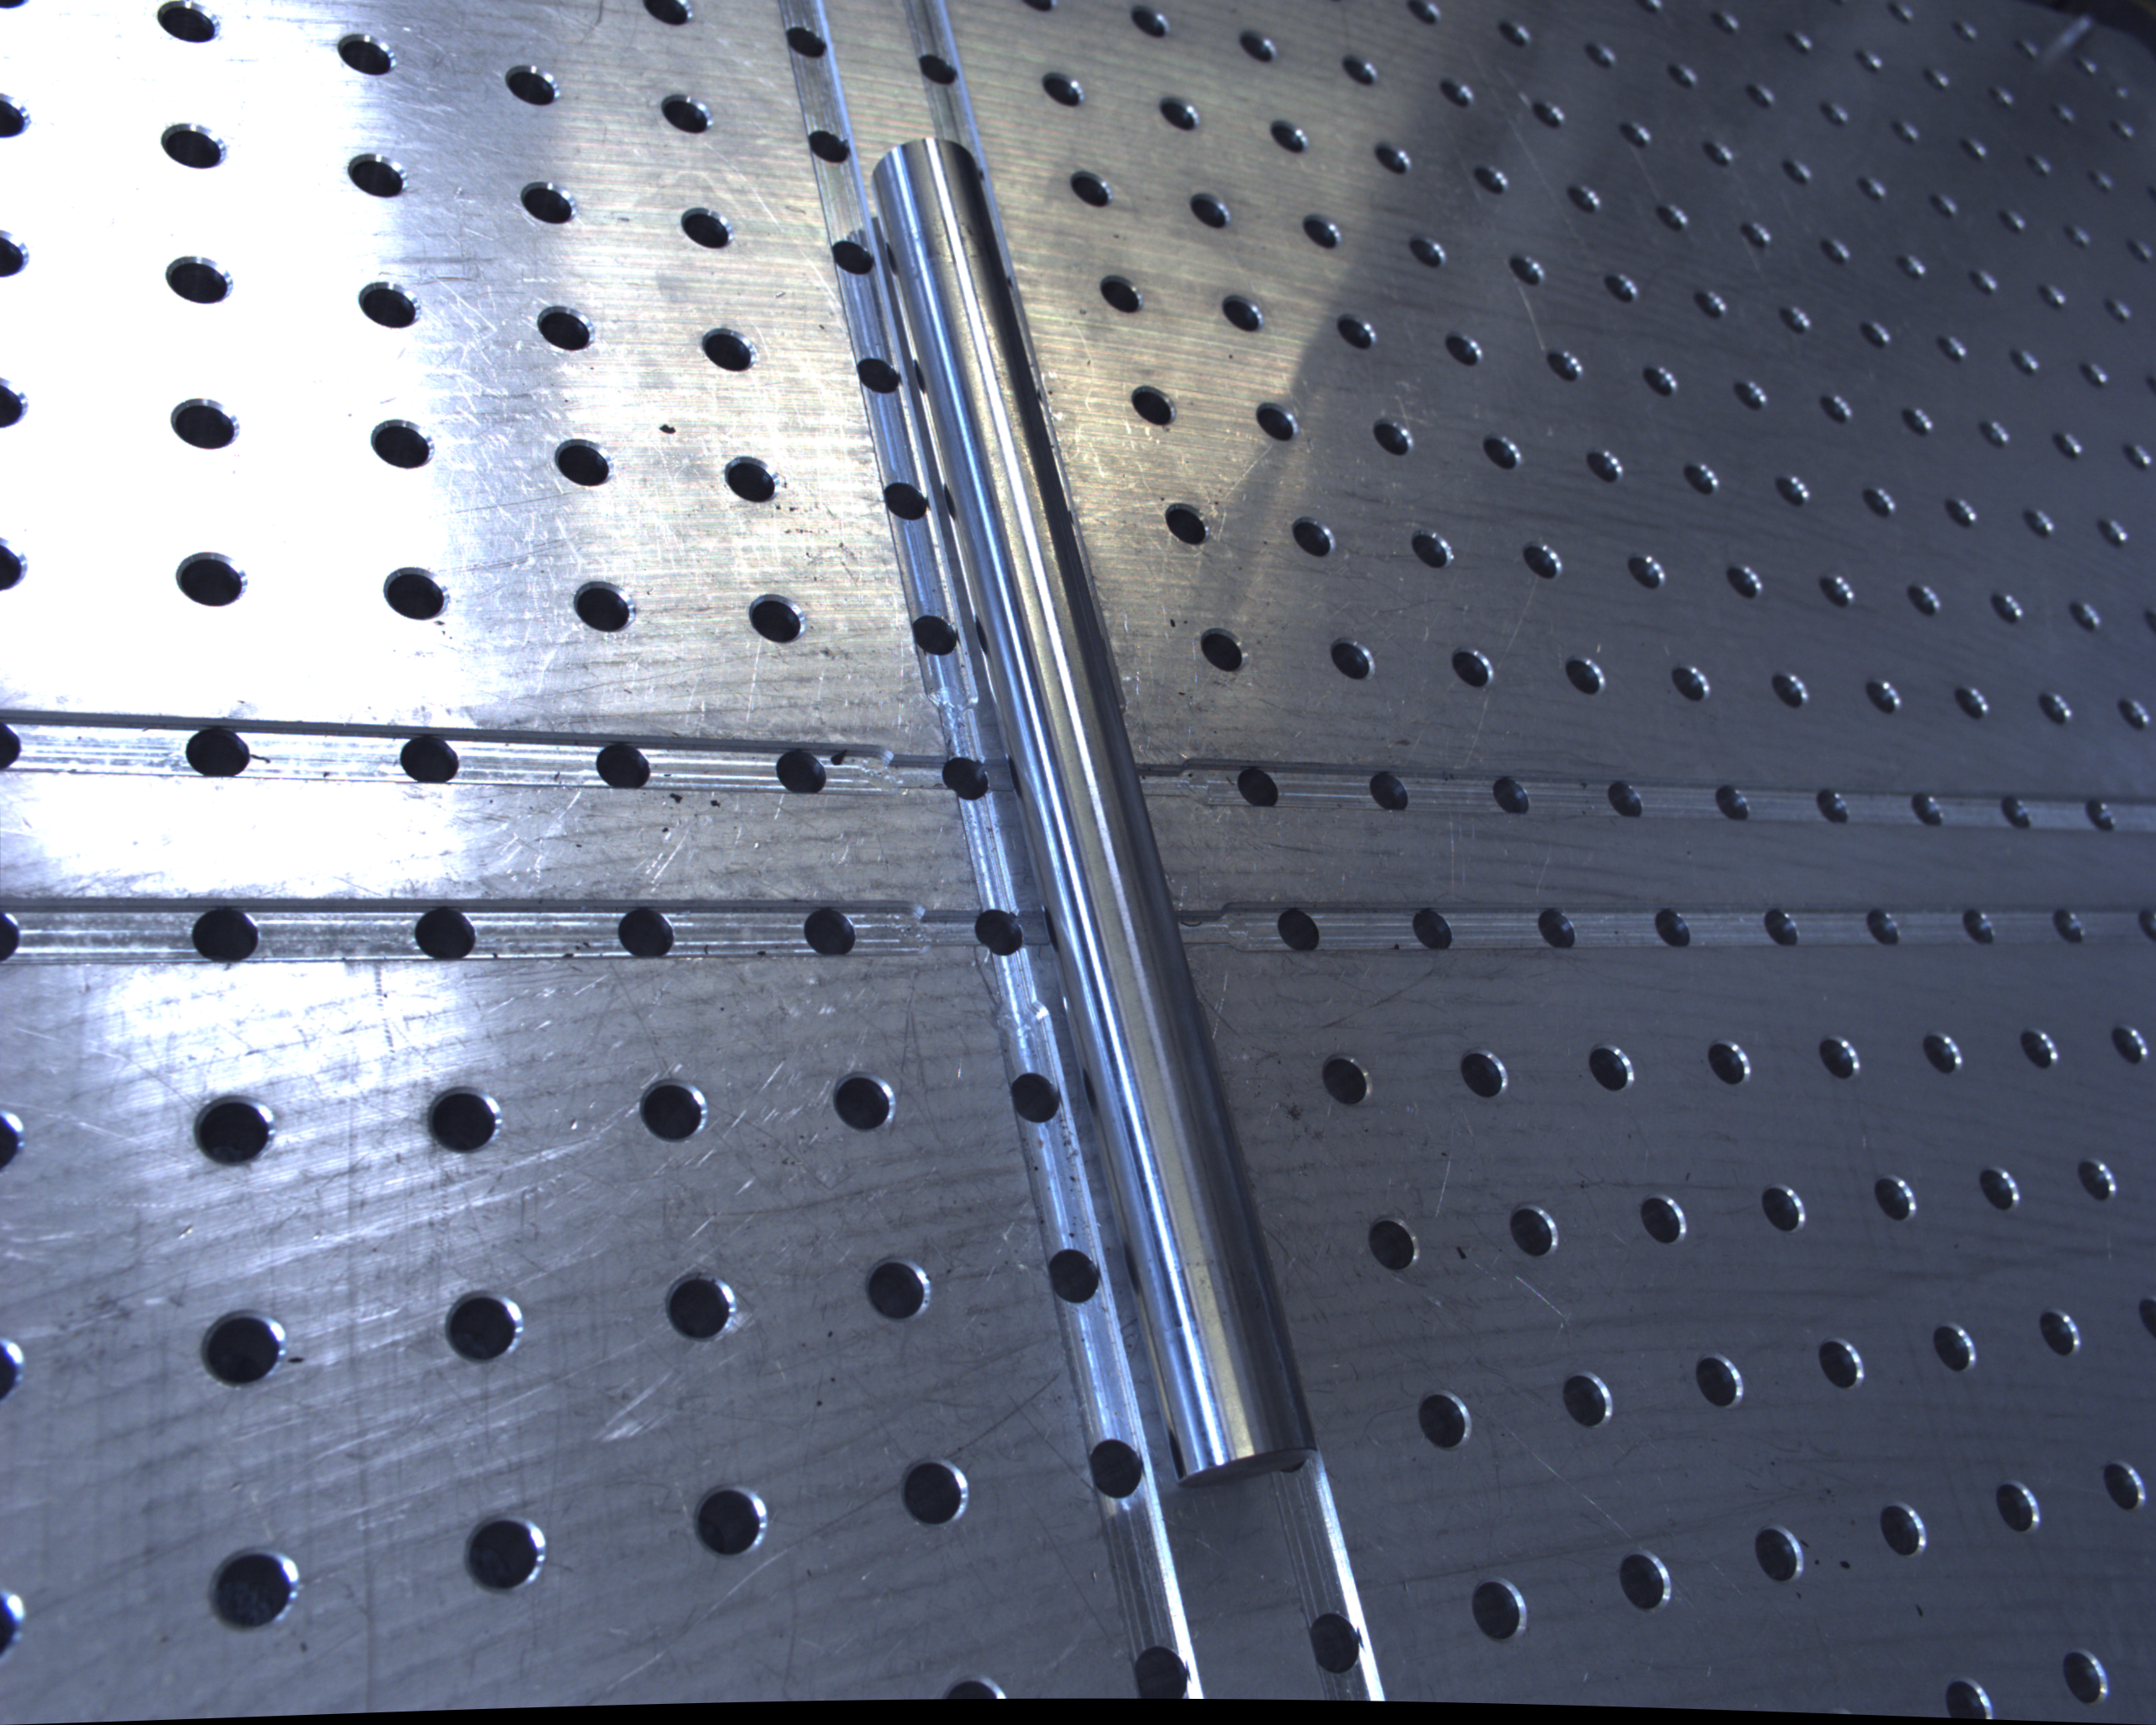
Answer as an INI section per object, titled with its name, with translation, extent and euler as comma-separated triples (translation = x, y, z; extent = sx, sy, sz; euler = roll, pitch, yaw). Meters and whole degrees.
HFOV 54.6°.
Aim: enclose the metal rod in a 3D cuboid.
[metal rod]
translation = -0.003, -0.027, 0.422
extent = 0.025, 0.025, 0.299
euler = 1, 62, -28
